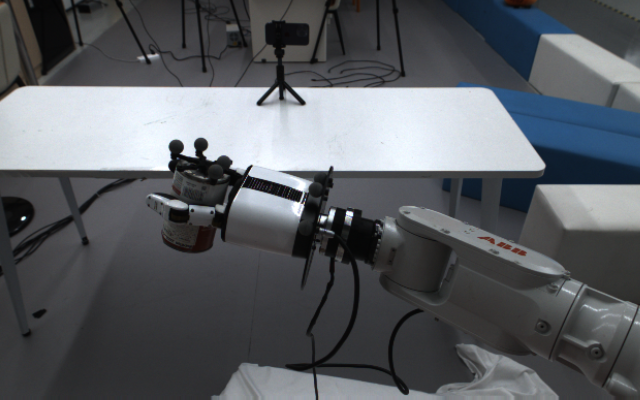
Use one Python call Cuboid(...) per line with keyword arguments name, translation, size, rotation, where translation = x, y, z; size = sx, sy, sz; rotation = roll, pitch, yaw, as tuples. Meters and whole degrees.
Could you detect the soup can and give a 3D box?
Cuboid(name="soup can", translation=(-0.156, 0.009, 0.609), size=(0.067, 0.101, 0.067), rotation=(17, 21, -7))
